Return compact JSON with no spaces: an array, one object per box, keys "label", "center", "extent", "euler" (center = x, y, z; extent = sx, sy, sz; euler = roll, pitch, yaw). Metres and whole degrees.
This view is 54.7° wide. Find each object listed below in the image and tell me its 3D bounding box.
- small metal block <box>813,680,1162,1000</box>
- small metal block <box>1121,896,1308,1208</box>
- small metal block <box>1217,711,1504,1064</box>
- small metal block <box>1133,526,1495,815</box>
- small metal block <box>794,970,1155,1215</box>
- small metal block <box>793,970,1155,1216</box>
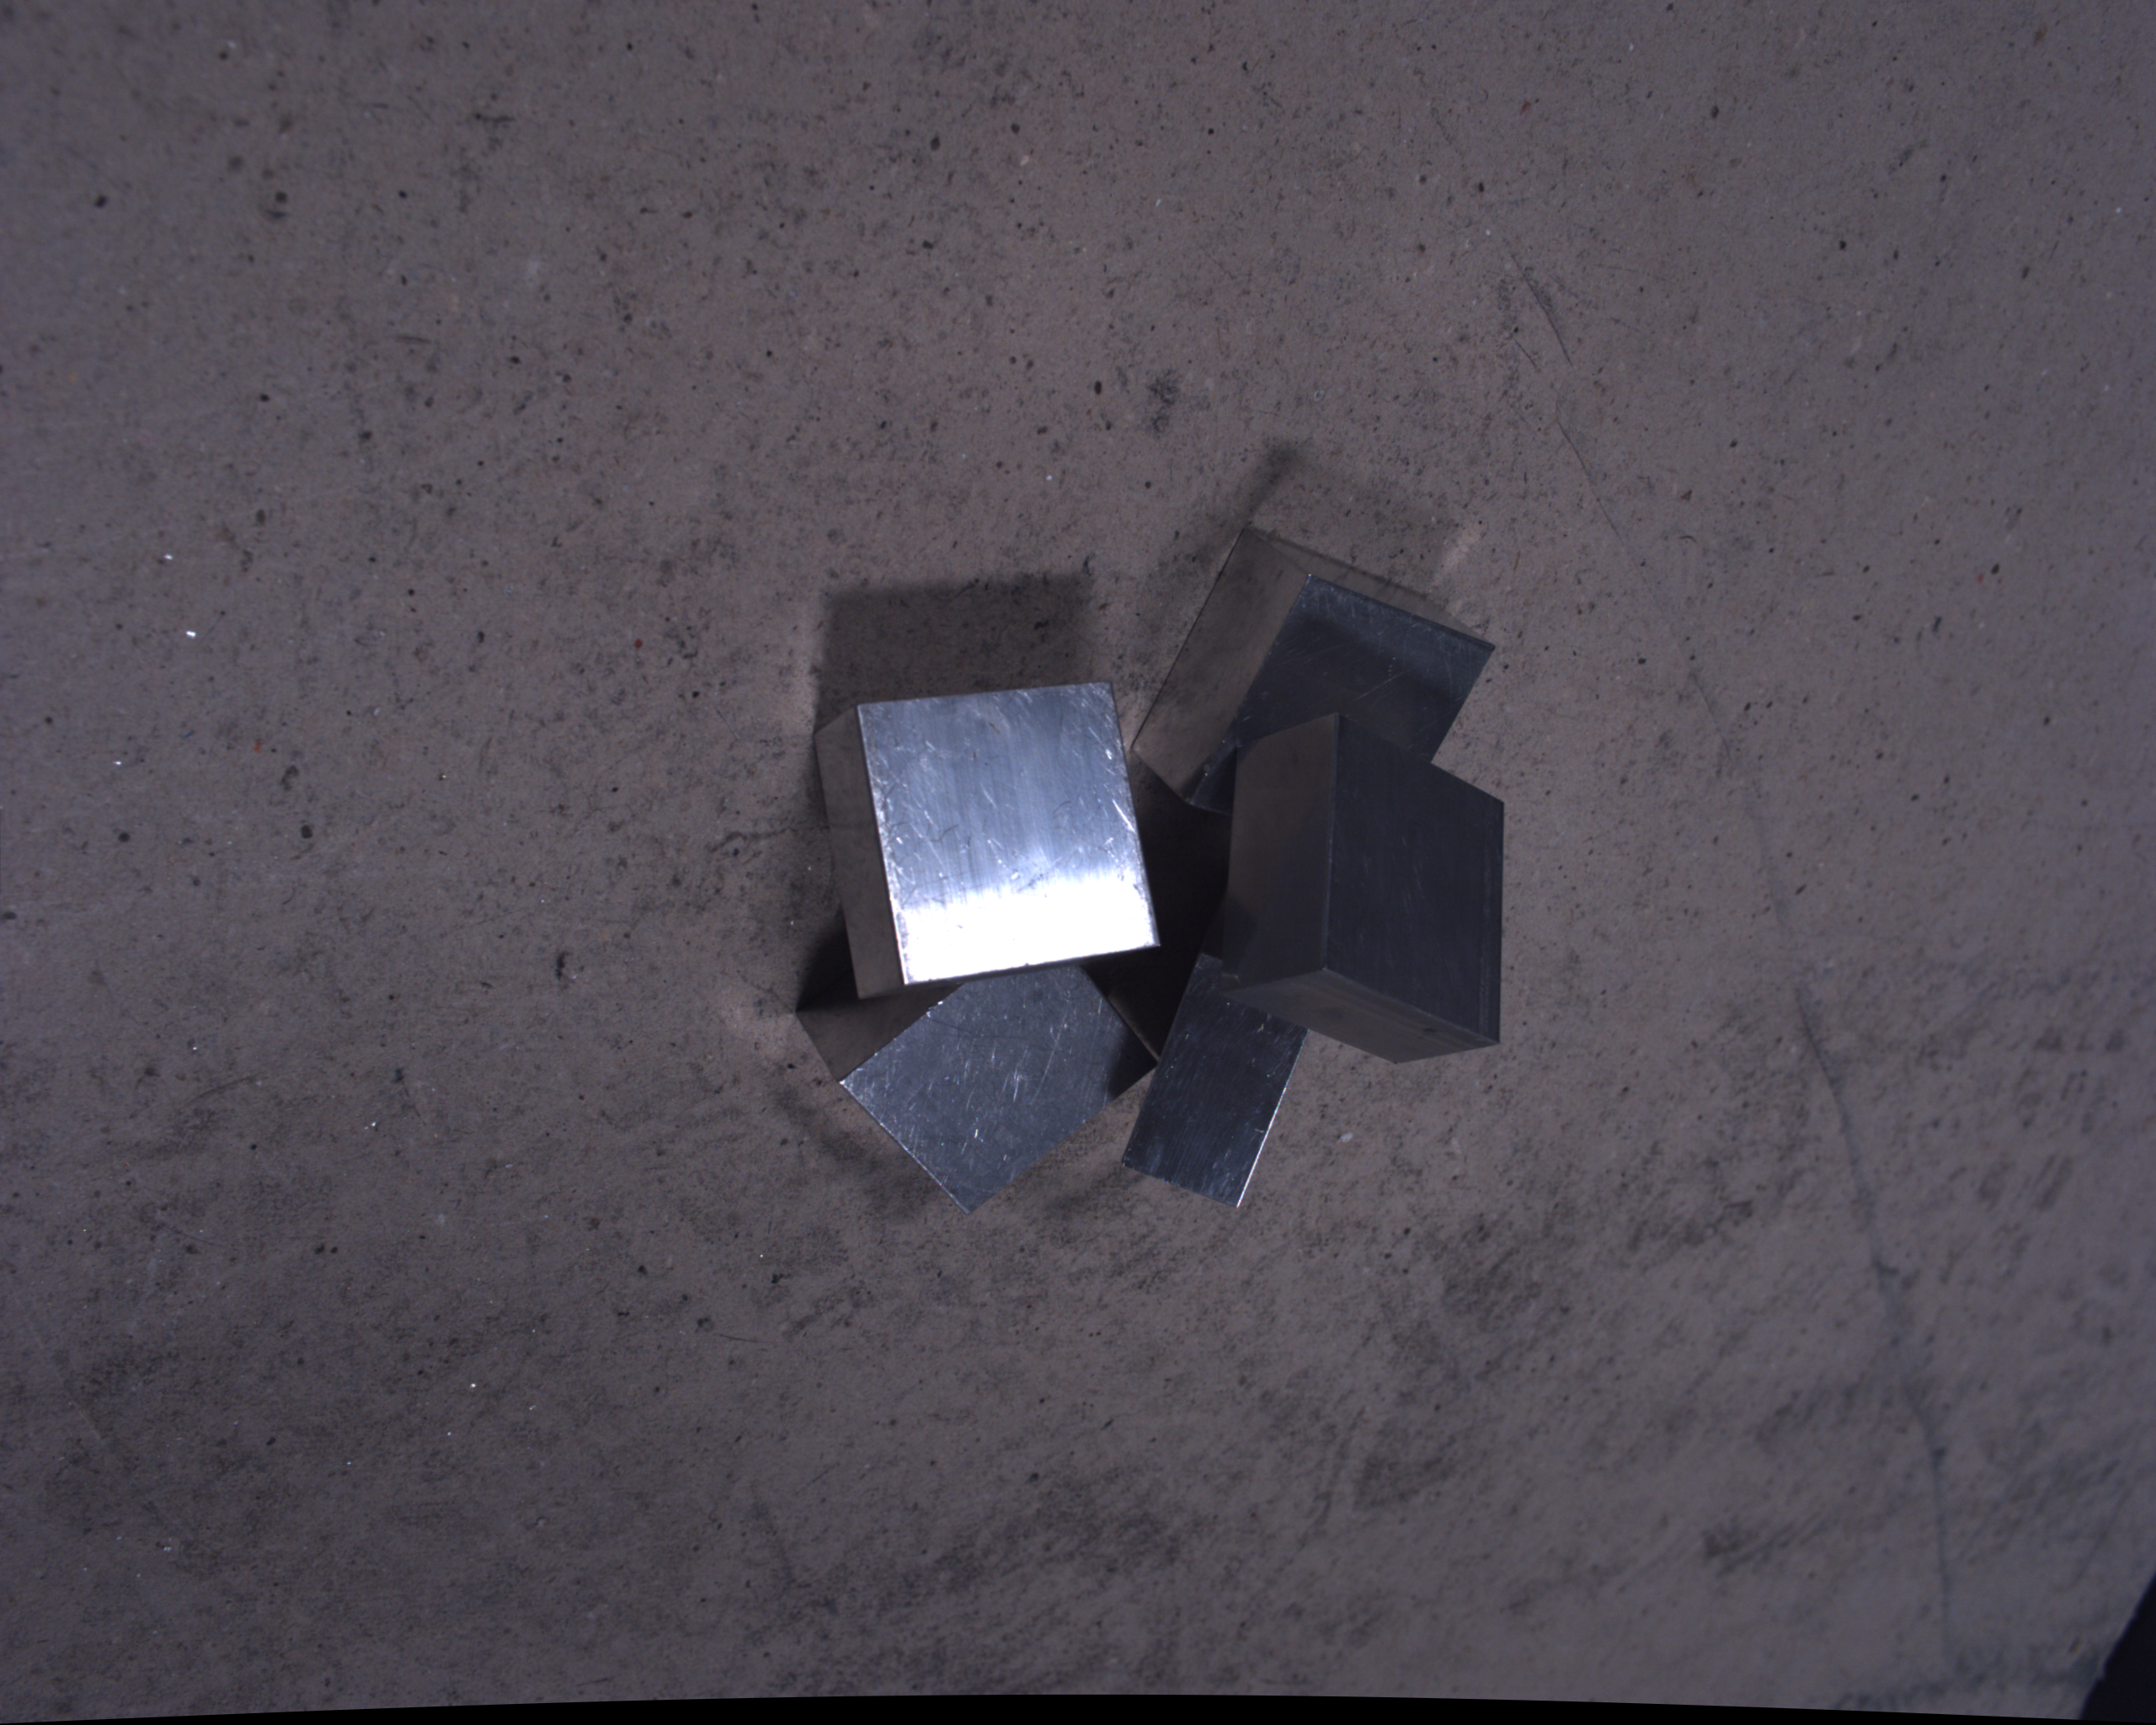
[{"label":"small metal block","center":[-0.017,-0.004,0.382],"extent":[0.050,0.025,0.050],"euler":[-8,84,-25]},{"label":"small metal block","center":[0.033,0.035,0.430],"extent":[0.025,0.050,0.050],"euler":[20,112,4]},{"label":"small metal block","center":[0.054,0.006,0.394],"extent":[0.050,0.025,0.050],"euler":[23,62,-37]},{"label":"small metal block","center":[0.046,-0.033,0.415],"extent":[0.050,0.025,0.050],"euler":[15,111,-35]},{"label":"small metal block","center":[-0.020,0.035,0.421],"extent":[0.050,0.025,0.050],"euler":[-38,130,-3]},{"label":"small metal block","center":[-0.020,0.035,0.421],"extent":[0.050,0.025,0.050],"euler":[-39,129,-3]}]
